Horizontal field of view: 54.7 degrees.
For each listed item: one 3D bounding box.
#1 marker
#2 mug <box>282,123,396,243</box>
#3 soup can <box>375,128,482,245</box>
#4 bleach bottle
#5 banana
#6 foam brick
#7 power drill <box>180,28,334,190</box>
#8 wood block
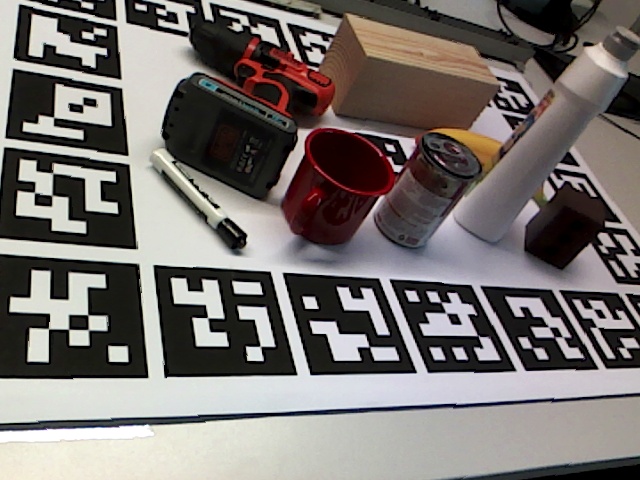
[{"bbox_3d":[-0.106,-0.027,0.553,0.121,0.019,0.019,46,45,16],"label":"marker"},{"bbox_3d":[0.008,-0.045,0.586,0.093,0.081,0.117,36,44,2],"label":"mug"},{"bbox_3d":[0.108,-0.052,0.630,0.067,0.102,0.068,18,38,-15],"label":"soup can"},{"bbox_3d":[0.235,-0.113,0.662,0.068,0.251,0.103,25,40,-6],"label":"bleach bottle"},{"bbox_3d":[0.197,-0.123,0.807,0.196,0.039,0.074,17,56,-18],"label":"banana"},{"bbox_3d":[0.283,-0.017,0.728,0.053,0.078,0.051,27,39,-2],"label":"foam brick"},{"bbox_3d":[-0.081,-0.147,0.664,0.184,0.057,0.187,27,40,-9],"label":"power drill"},{"bbox_3d":[0.111,-0.209,0.808,0.205,0.091,0.090,2,49,-29],"label":"wood block"}]
